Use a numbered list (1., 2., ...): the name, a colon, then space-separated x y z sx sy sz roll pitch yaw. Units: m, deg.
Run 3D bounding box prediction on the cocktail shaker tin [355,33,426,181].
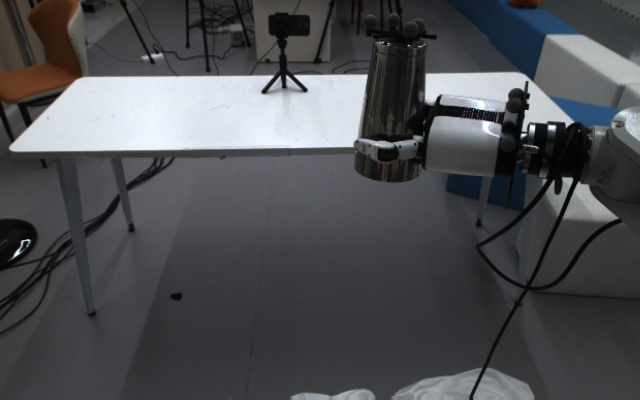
1. cocktail shaker tin: 0.097 -0.120 0.633 0.093 0.170 0.093 1 28 -1
